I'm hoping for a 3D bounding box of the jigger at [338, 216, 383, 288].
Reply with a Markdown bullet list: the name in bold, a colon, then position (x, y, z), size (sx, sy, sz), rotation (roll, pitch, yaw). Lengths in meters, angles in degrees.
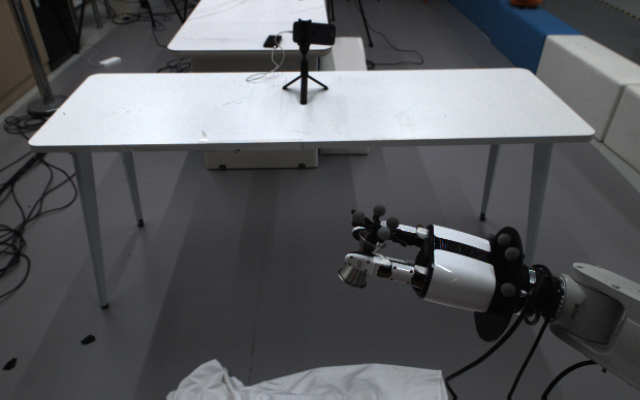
- **jigger**: position (0.057, 0.080, 0.664), size (0.043, 0.071, 0.043), rotation (23, 19, -8)
